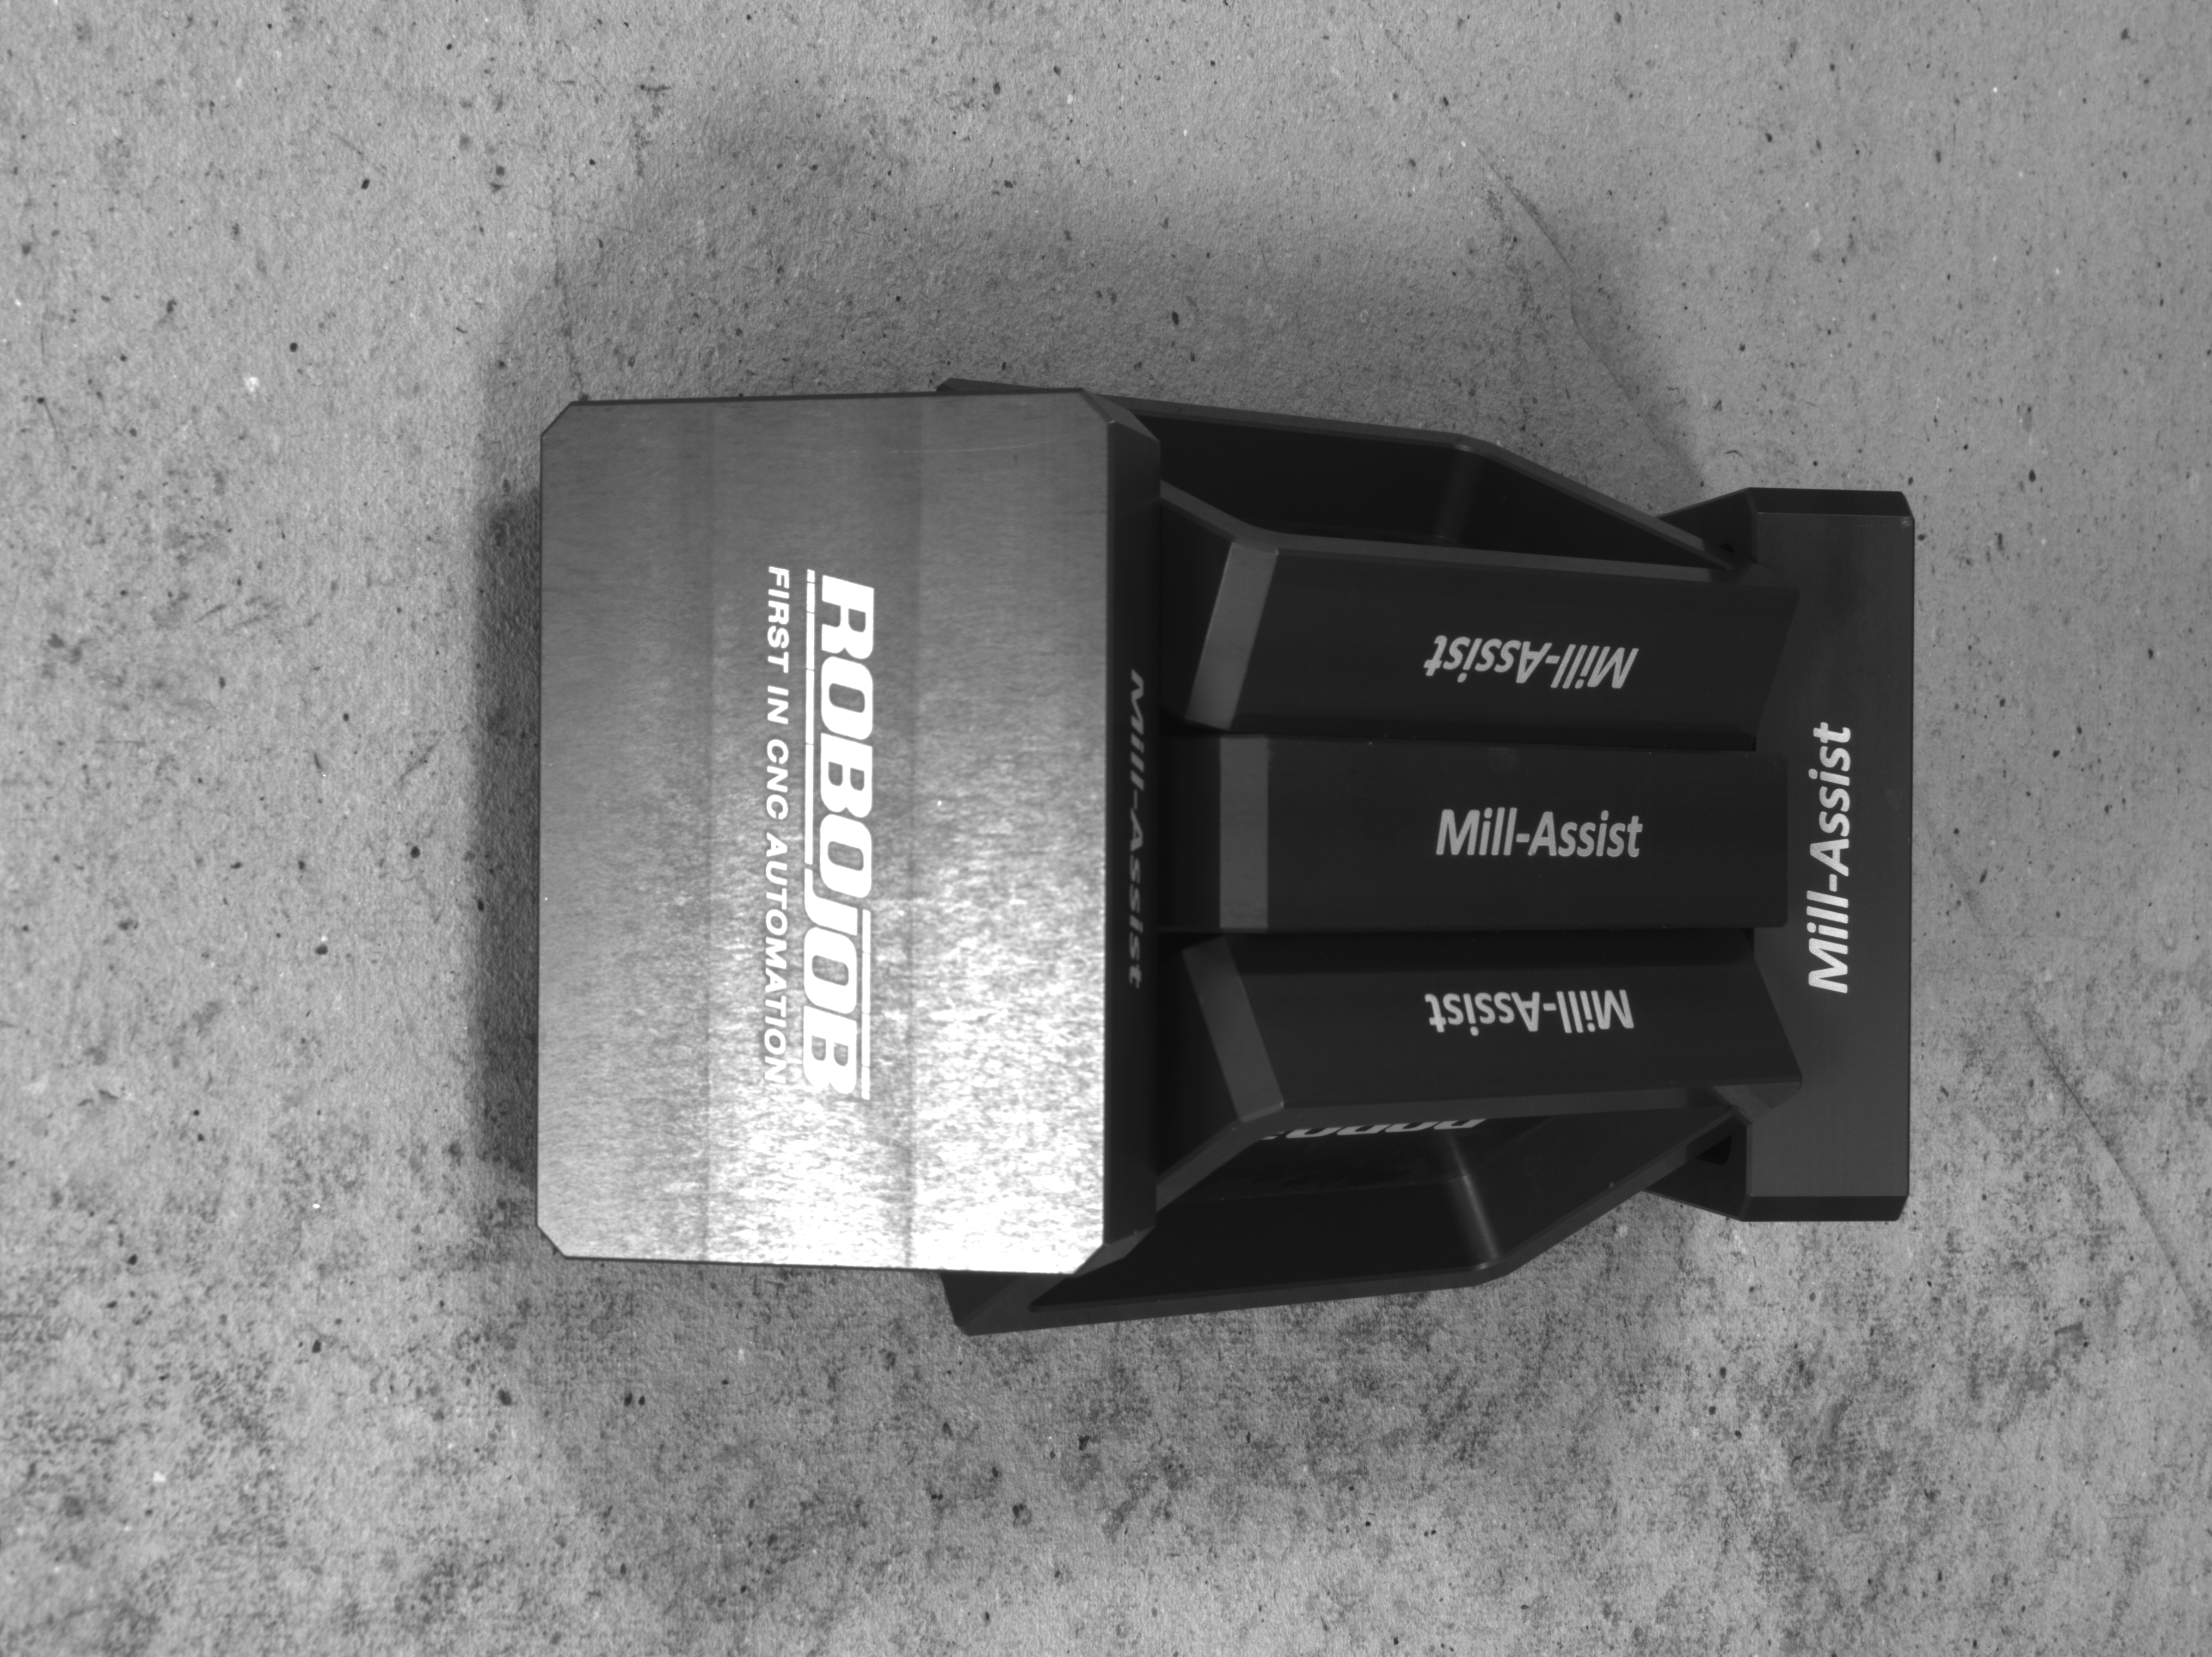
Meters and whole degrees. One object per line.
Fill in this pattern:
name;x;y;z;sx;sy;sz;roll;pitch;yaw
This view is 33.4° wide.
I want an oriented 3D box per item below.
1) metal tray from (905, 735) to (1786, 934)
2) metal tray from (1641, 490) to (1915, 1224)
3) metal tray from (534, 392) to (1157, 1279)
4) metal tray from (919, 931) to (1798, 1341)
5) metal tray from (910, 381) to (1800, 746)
metal tray;0.042;0.001;0.629;0.130;0.090;0.030;0;90;-40
metal tray;0.122;0.006;0.694;0.030;0.090;0.130;1;89;-8
metal tray;-0.040;0.001;0.563;0.030;0.090;0.130;1;89;-76
metal tray;0.043;0.052;0.629;0.130;0.090;0.030;1;60;-40
metal tray;0.042;-0.044;0.627;0.130;0.090;0.030;1;112;-40
